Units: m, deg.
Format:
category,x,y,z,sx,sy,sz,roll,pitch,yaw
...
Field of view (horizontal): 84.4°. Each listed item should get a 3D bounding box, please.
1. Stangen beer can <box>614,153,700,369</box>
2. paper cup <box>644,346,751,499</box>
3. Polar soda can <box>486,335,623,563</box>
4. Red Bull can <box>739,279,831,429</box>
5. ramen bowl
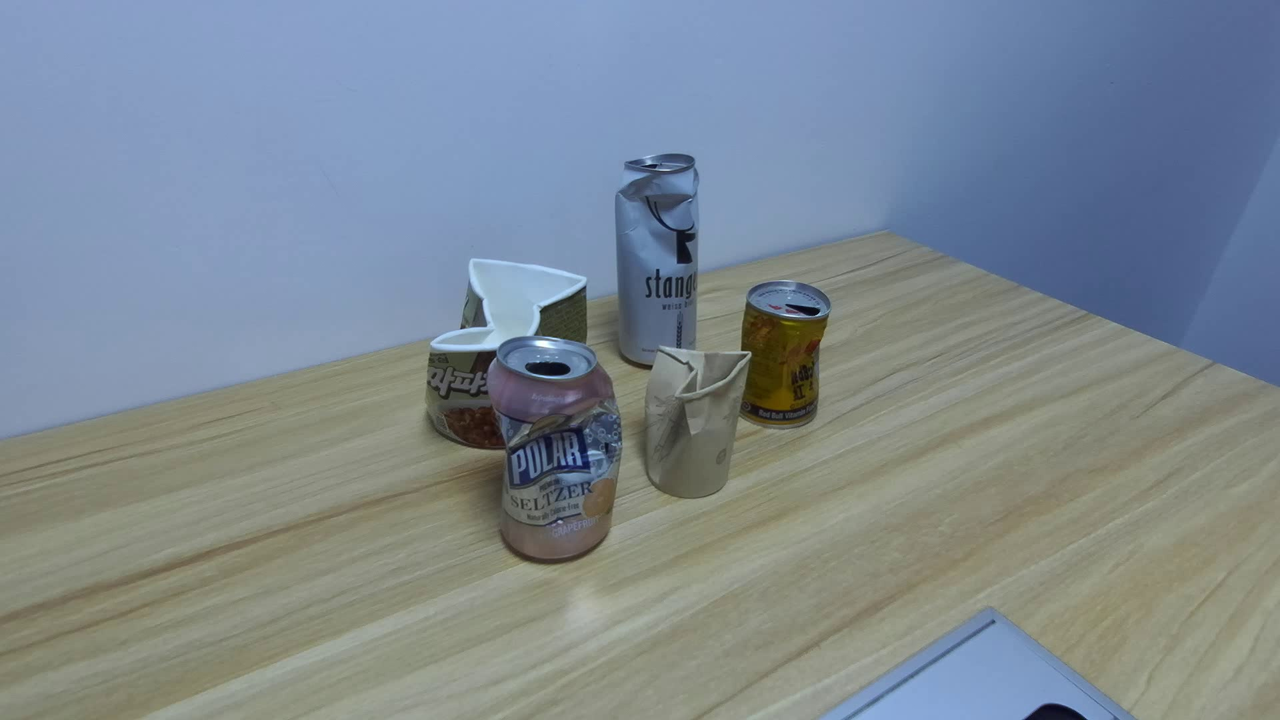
category,x,y,z,sx,sy,sz,roll,pitch,yaw
Stangen beer can,0.015,-0.076,0.565,0.066,0.166,0.066,3,29,6
paper cup,0.030,0.038,0.454,0.058,0.083,0.066,15,32,26
Polar soda can,-0.047,0.049,0.403,0.071,0.122,0.066,-6,27,-14
Red Bull can,0.103,-0.004,0.517,0.072,0.092,0.072,2,30,-1
ramen bowl,-0.104,-0.002,0.512,0.111,0.093,0.128,11,35,16
